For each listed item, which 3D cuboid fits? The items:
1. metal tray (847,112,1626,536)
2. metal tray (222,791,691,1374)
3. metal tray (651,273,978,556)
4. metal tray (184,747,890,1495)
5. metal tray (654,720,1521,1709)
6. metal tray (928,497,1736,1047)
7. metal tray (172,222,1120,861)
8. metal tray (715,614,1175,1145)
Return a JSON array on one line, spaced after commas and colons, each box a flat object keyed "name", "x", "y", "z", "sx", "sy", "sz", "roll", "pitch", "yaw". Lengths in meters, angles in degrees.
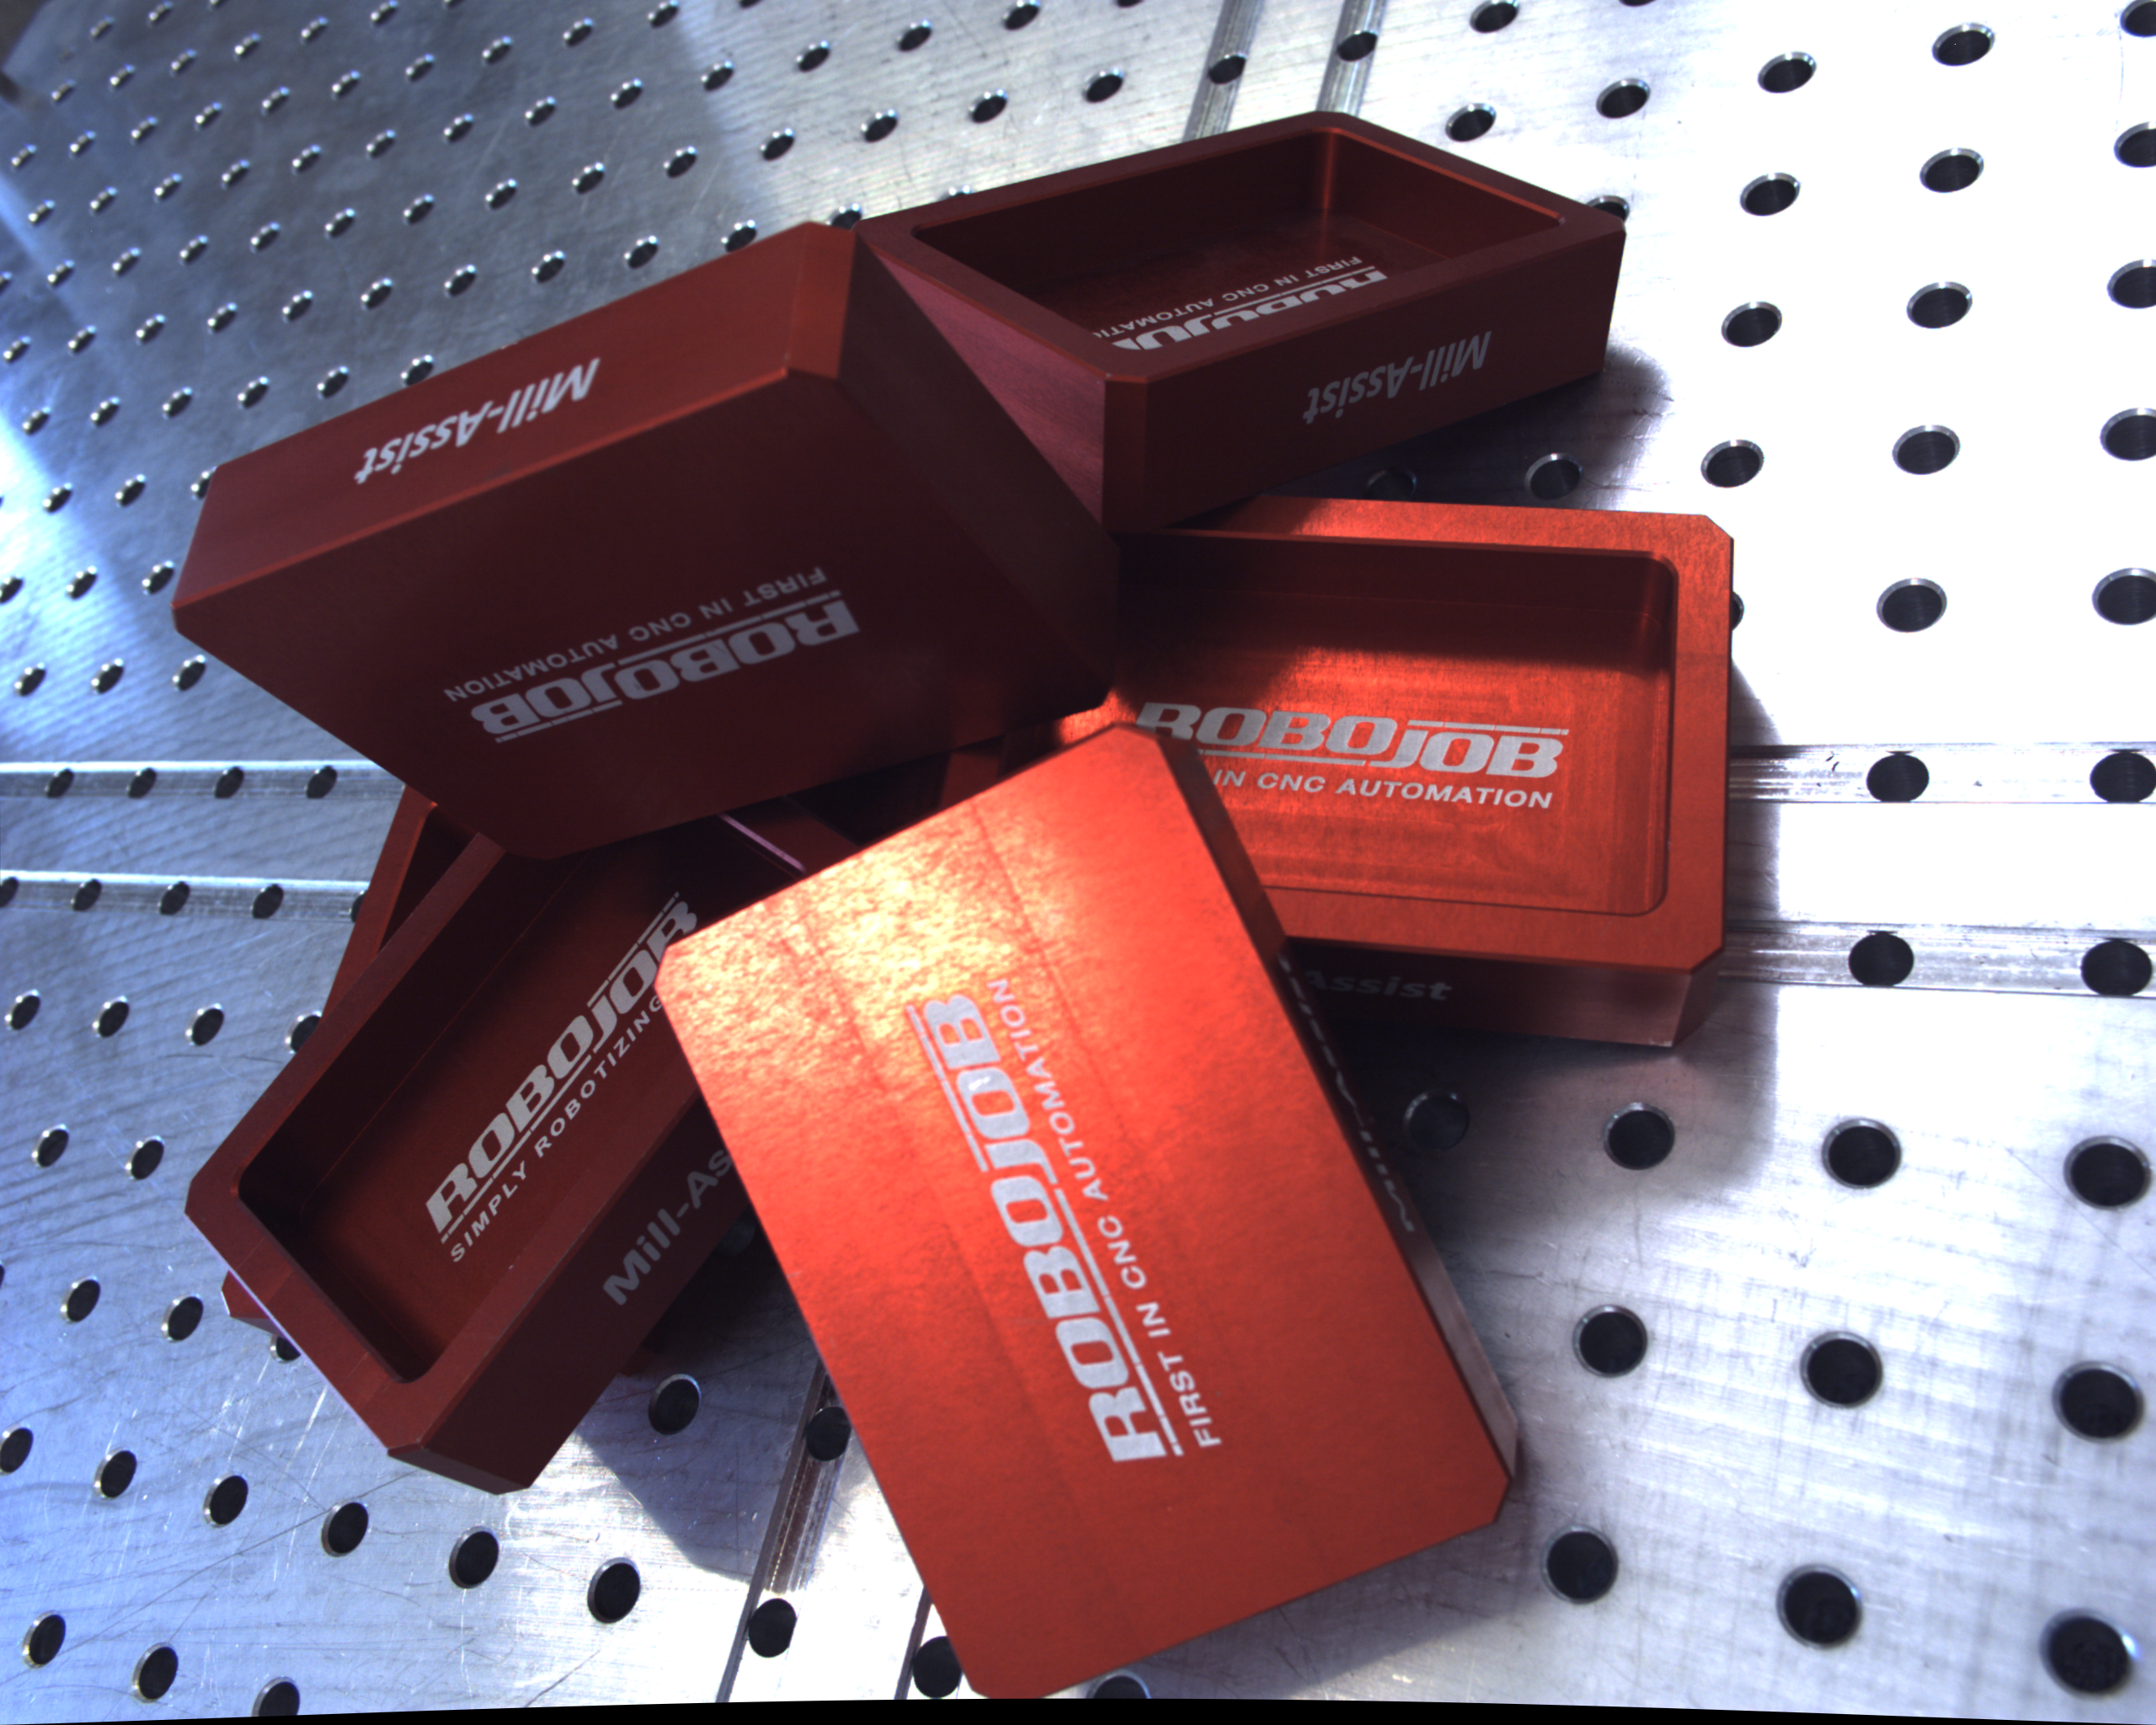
[{"name": "metal tray", "x": 0.032, "y": -0.112, "z": 0.415, "sx": 0.131, "sy": 0.030, "sz": 0.090, "roll": -24, "pitch": 44, "yaw": -29}, {"name": "metal tray", "x": -0.118, "y": 0.039, "z": 0.445, "sx": 0.090, "sy": 0.030, "sz": 0.130, "roll": -4, "pitch": 59, "yaw": 25}, {"name": "metal tray", "x": -0.064, "y": -0.084, "z": 0.469, "sx": 0.090, "sy": 0.030, "sz": 0.130, "roll": -38, "pitch": 35, "yaw": 2}, {"name": "metal tray", "x": -0.098, "y": 0.039, "z": 0.394, "sx": 0.090, "sy": 0.030, "sz": 0.130, "roll": 30, "pitch": 78, "yaw": 38}, {"name": "metal tray", "x": 0.001, "y": 0.054, "z": 0.329, "sx": 0.090, "sy": 0.030, "sz": 0.130, "roll": -26, "pitch": 86, "yaw": 12}, {"name": "metal tray", "x": 0.046, "y": -0.020, "z": 0.370, "sx": 0.130, "sy": 0.030, "sz": 0.090, "roll": 4, "pitch": 63, "yaw": 11}, {"name": "metal tray", "x": -0.070, "y": -0.046, "z": 0.349, "sx": 0.130, "sy": 0.090, "sz": 0.030, "roll": -14, "pitch": 56, "yaw": 26}, {"name": "metal tray", "x": -0.022, "y": -0.007, "z": 0.422, "sx": 0.090, "sy": 0.030, "sz": 0.130, "roll": -3, "pitch": 58, "yaw": 24}]
